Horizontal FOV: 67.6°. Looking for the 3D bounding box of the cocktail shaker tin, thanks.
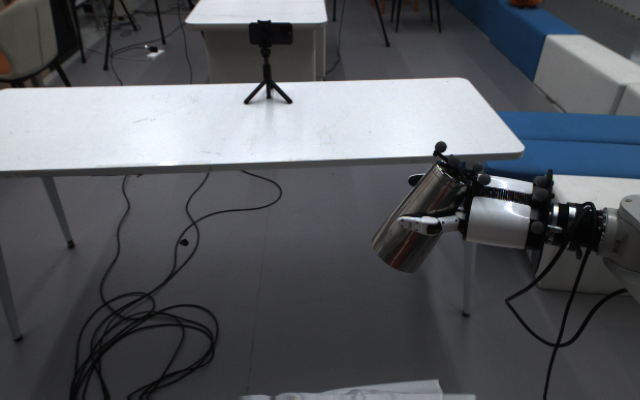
[{"bbox_3d":[0.165,0.018,0.771,0.093,0.170,0.093,25,29,-15],"label":"cocktail shaker tin"}]
